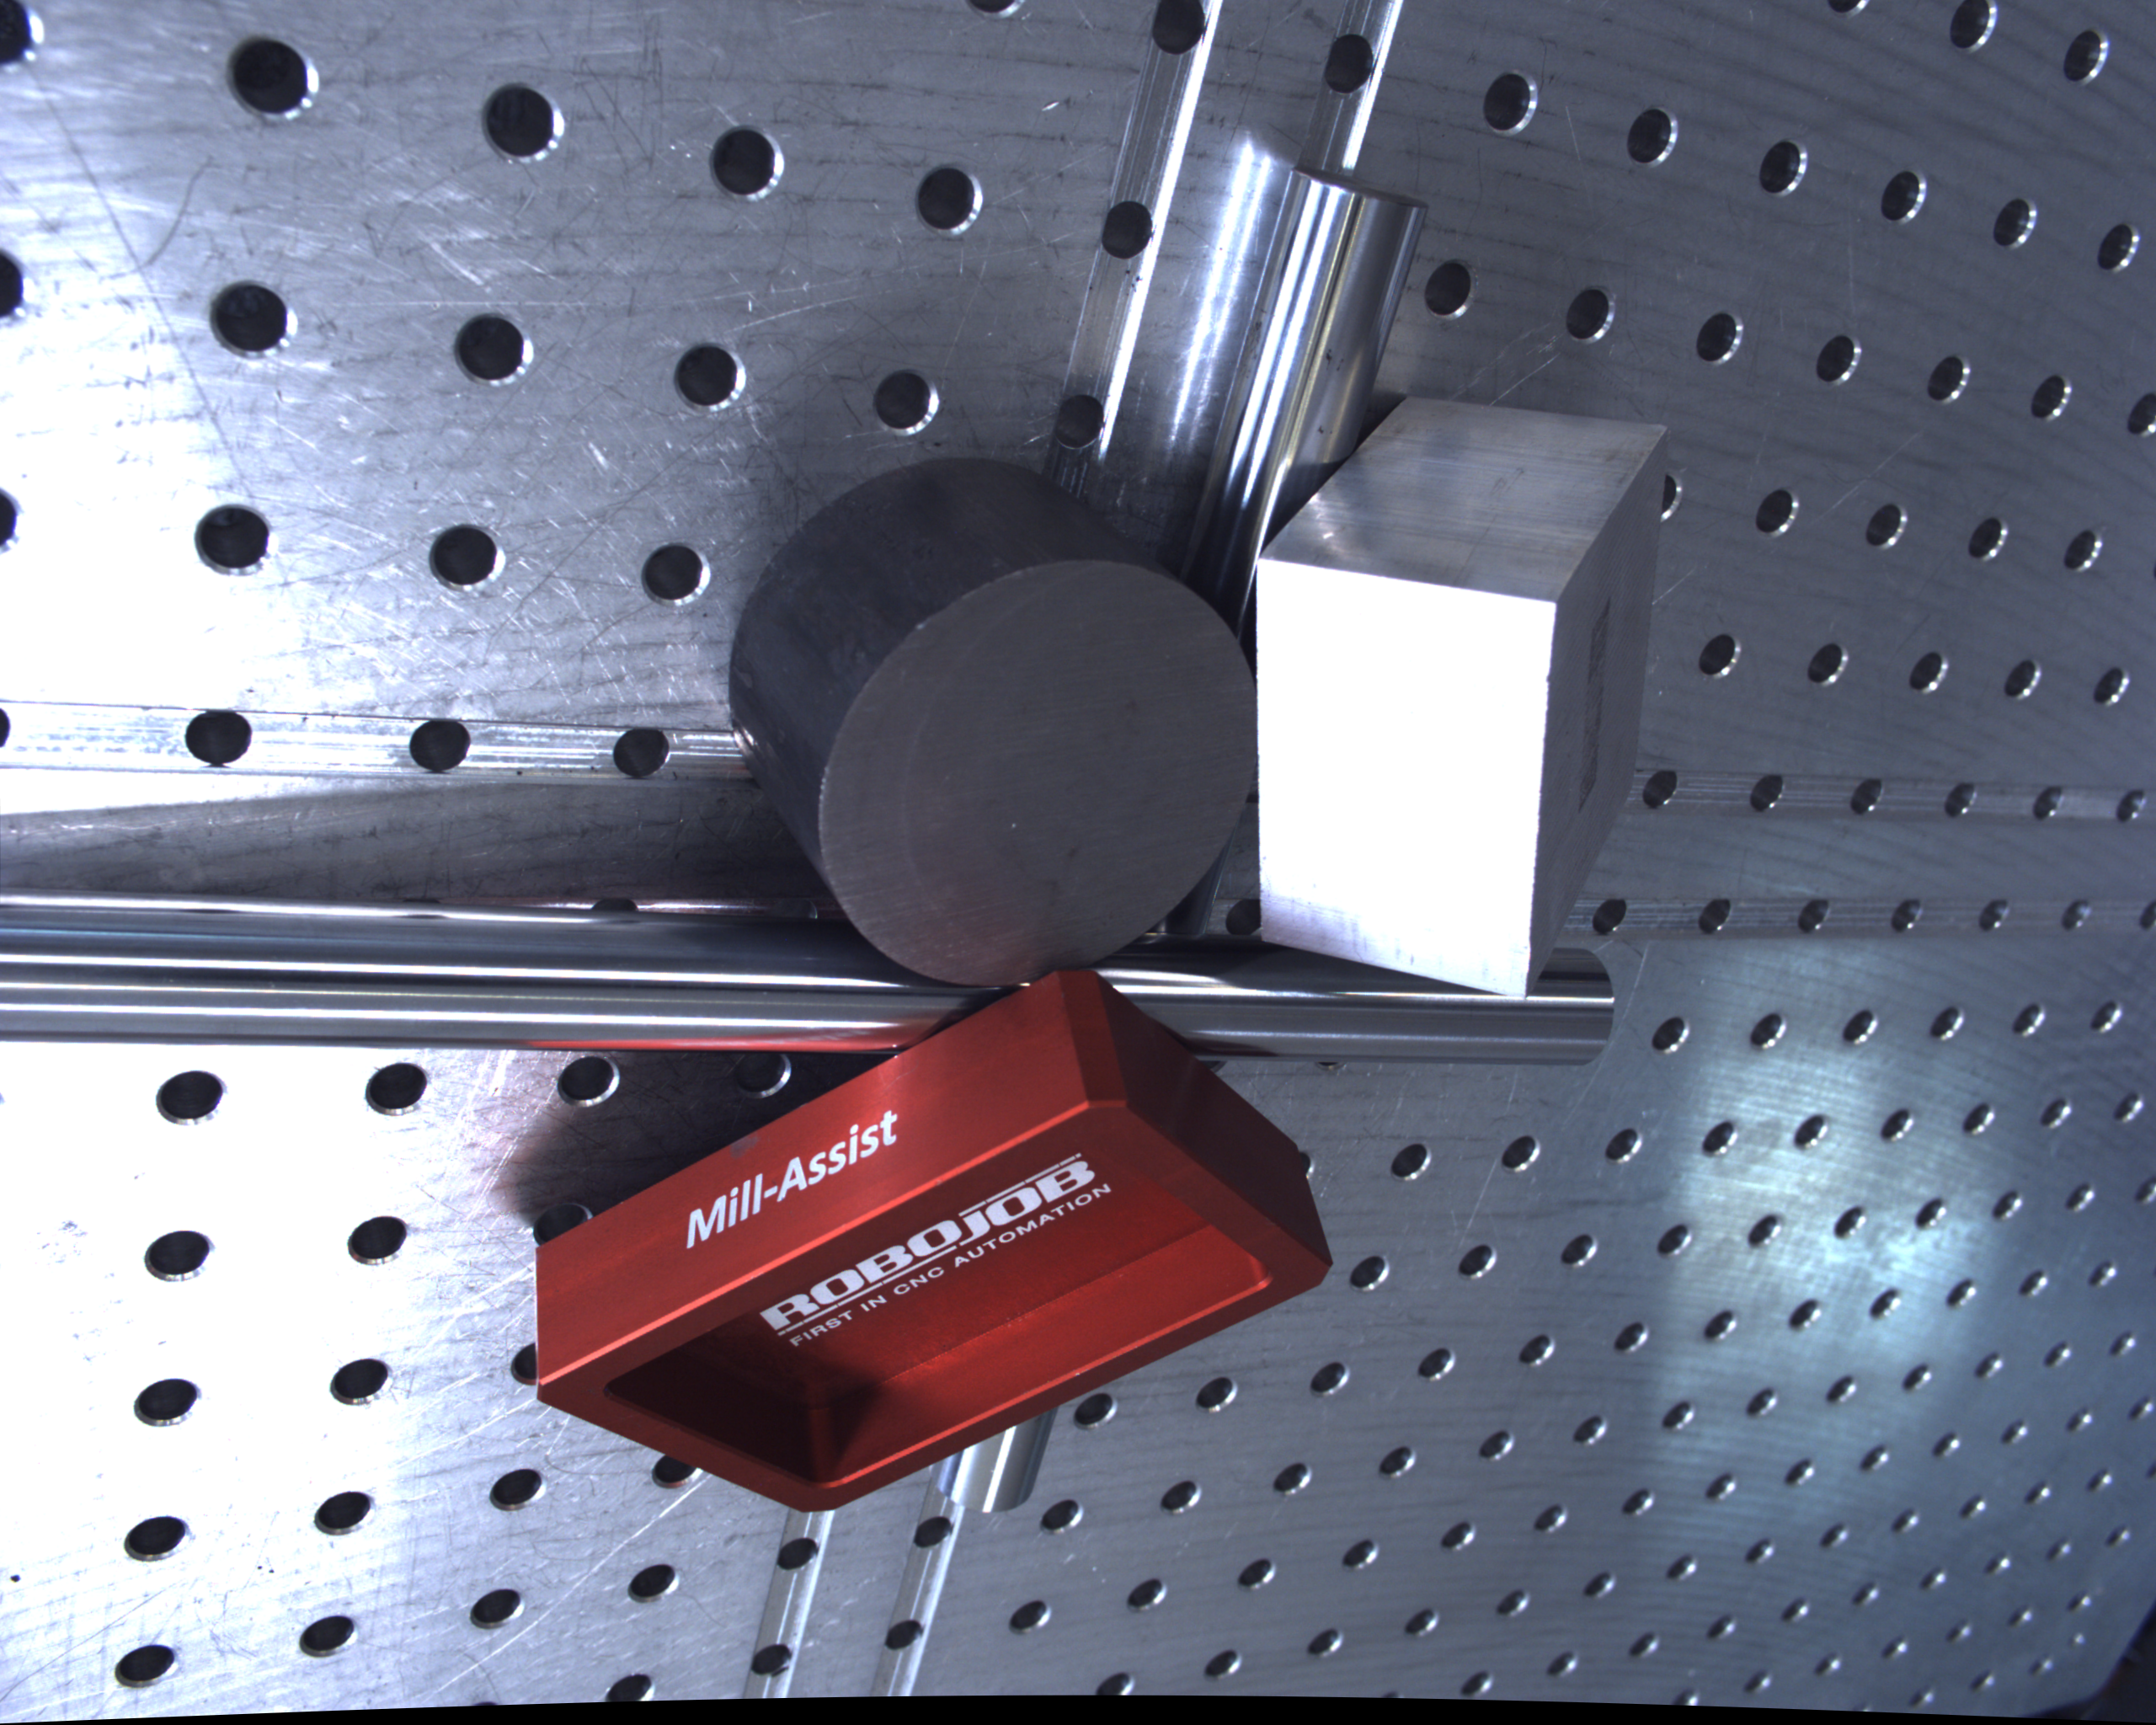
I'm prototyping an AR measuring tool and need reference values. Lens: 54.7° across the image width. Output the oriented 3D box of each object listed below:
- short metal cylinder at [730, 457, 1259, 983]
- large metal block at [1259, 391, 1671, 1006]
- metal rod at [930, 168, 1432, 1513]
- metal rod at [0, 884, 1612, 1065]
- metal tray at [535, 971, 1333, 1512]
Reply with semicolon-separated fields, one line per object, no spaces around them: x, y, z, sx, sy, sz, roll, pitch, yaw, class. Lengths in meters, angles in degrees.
-0.015;-0.026;0.370;0.081;0.050;0.079;-14;124;-21;short metal cylinder
0.072;-0.033;0.388;0.080;0.050;0.079;-50;145;-48;large metal block
0.014;0.013;0.426;0.025;0.025;0.298;1;118;-29;metal rod
-0.034;0.023;0.385;0.302;0.025;0.025;3;117;-22;metal rod
-0.028;0.079;0.408;0.130;0.030;0.090;-29;138;17;metal tray
